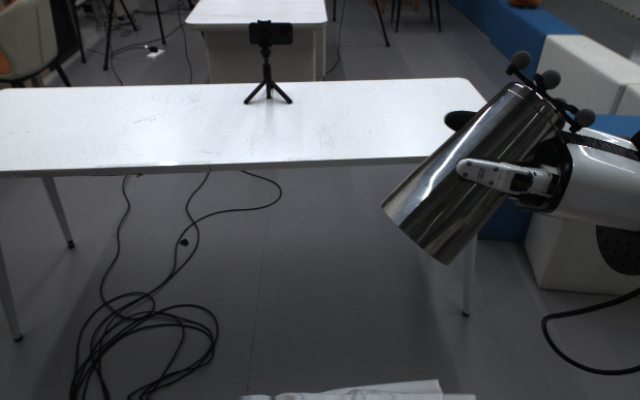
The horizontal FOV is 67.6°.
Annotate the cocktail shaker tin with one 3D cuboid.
[{"bbox_3d":[0.153,-0.033,0.478,0.093,0.170,0.093,41,12,-11],"label":"cocktail shaker tin"}]
